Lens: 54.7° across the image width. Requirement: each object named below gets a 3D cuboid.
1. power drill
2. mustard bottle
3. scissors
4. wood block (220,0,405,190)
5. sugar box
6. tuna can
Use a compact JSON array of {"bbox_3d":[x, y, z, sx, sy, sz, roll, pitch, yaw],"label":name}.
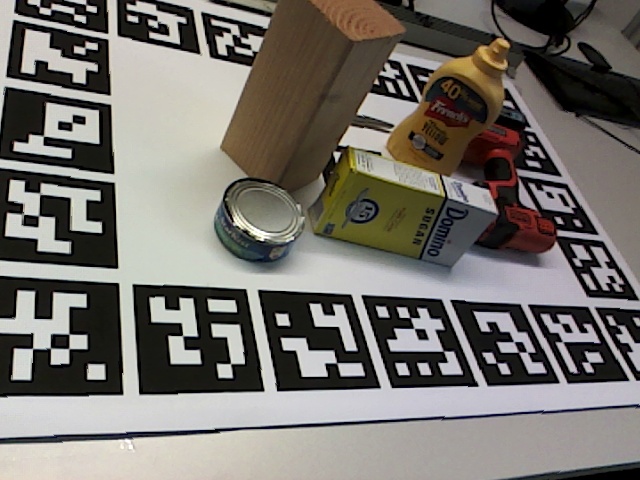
[{"bbox_3d":[0.197,-0.080,0.797,0.184,0.057,0.187,15,54,-17],"label":"power drill"},{"bbox_3d":[0.167,-0.159,0.765,0.096,0.192,0.058,42,45,7],"label":"mustard bottle"},{"bbox_3d":[-0.001,-0.172,0.793,0.201,0.016,0.088,7,46,-25],"label":"scissors"},{"bbox_3d":[-0.016,-0.149,0.642,0.090,0.206,0.090,-25,69,-42],"label":"wood block"},{"bbox_3d":[0.096,-0.031,0.674,0.175,0.093,0.045,16,43,-20],"label":"sugar box"},{"bbox_3d":[-0.059,-0.022,0.612,0.085,0.034,0.086,16,47,-19],"label":"tuna can"}]
